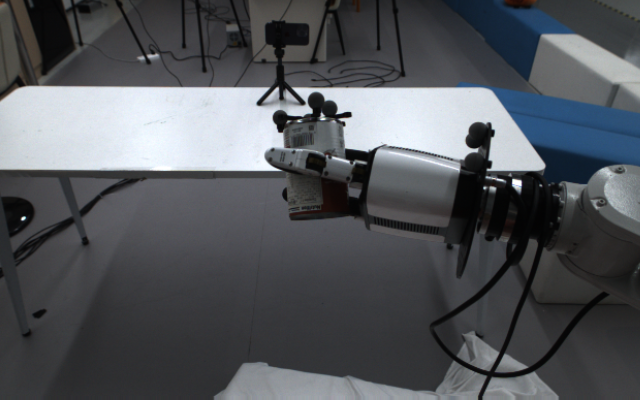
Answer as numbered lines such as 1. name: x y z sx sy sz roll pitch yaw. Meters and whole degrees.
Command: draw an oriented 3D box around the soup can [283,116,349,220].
1. soup can: -0.002 -0.031 0.524 0.067 0.101 0.067 -5 -5 0
